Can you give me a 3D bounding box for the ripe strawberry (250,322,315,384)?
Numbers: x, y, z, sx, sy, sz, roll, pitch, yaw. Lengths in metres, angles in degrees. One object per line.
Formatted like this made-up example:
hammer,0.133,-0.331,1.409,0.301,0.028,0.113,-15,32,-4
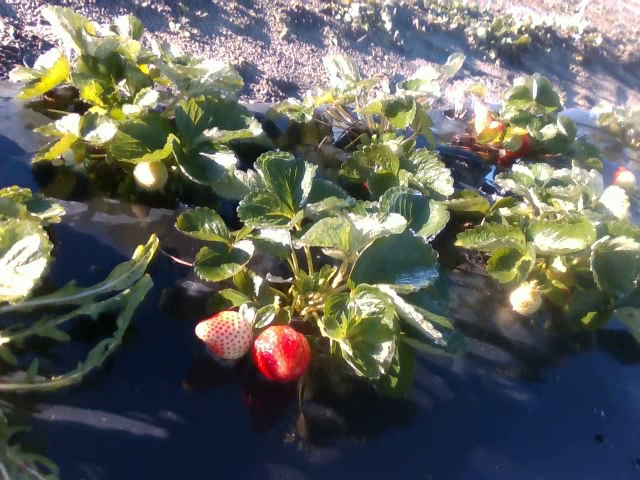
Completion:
ripe strawberry,-0.021,0.070,0.370,0.040,0.038,0.056,-17,-4,-3
